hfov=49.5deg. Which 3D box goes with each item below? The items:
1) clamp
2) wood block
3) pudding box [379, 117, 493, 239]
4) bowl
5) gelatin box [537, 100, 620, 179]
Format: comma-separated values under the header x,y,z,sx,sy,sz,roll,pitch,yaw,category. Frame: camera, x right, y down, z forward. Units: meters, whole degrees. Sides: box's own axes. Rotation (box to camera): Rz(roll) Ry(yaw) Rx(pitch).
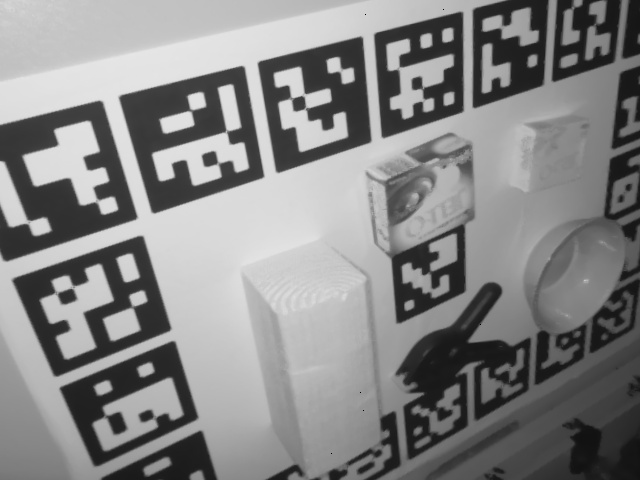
x,y,z,sx,sy,sz,roll,pitch,yaw,category
0.186,0.114,0.816,0.166,0.036,0.121,-28,123,-13,clamp
0.001,0.097,0.662,0.091,0.090,0.205,-16,119,-20,wood block
0.117,-0.063,0.686,0.115,0.038,0.089,-21,117,-22,pudding box
0.330,0.032,0.845,0.164,0.055,0.160,-10,114,-23,bowl
0.284,-0.111,0.761,0.090,0.030,0.073,-12,115,-24,gelatin box
